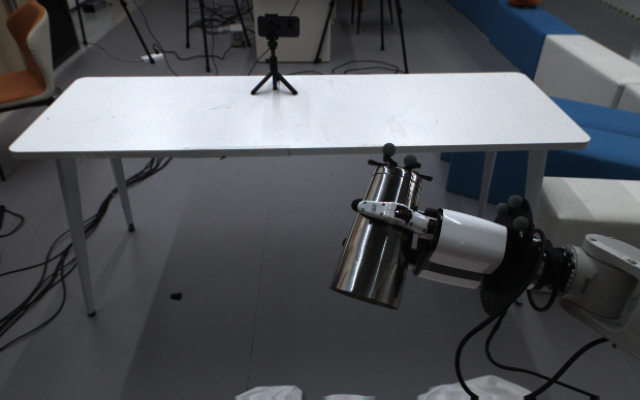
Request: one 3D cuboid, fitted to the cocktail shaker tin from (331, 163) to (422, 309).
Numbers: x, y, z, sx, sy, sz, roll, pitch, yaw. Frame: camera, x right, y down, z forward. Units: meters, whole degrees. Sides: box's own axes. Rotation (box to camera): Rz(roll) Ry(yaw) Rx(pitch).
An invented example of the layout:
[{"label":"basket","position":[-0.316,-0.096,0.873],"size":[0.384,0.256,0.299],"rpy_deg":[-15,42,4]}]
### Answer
[{"label":"cocktail shaker tin","position":[0.081,0.046,0.628],"size":[0.093,0.093,0.170],"rpy_deg":[14,76,16]}]
